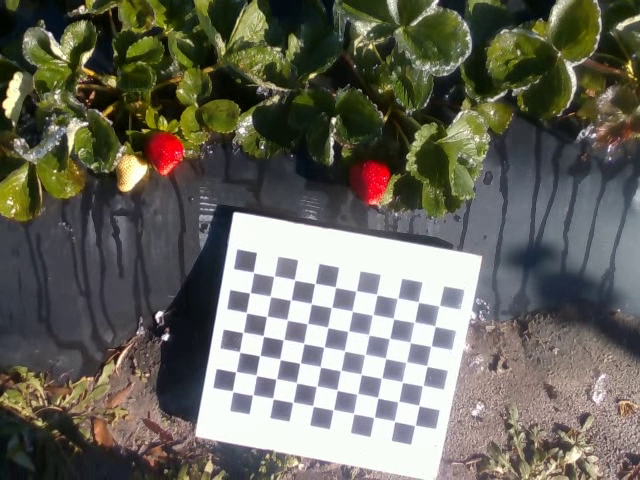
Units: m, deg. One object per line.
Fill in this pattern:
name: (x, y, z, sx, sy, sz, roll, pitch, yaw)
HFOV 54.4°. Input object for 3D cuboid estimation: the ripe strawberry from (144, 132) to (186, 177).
ripe strawberry: (-0.171, -0.089, 0.688, 0.042, 0.061, 0.046, -4, -36, 1)

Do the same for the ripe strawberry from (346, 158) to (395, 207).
ripe strawberry: (0.056, -0.062, 0.681, 0.048, 0.061, 0.044, 3, -27, 0)
